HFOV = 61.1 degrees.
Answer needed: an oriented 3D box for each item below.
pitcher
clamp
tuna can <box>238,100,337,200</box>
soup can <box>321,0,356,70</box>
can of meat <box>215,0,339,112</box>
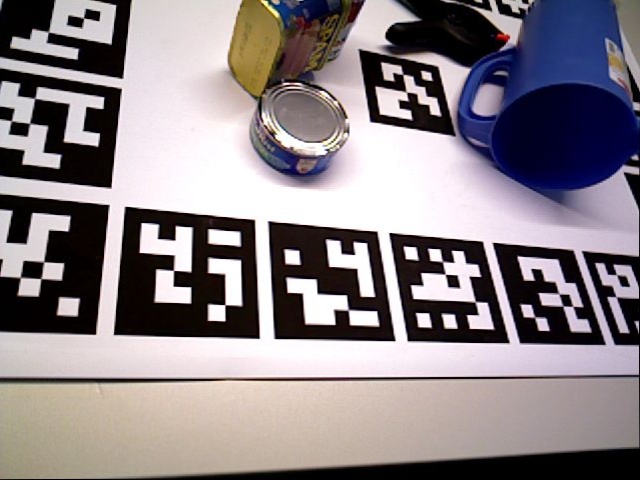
[{"bbox_3d":[0.257,-0.164,0.579,0.189,0.136,0.237,12,51,10],"label":"pitcher"},{"bbox_3d":[0.123,-0.245,0.642,0.163,0.037,0.120,9,58,-21],"label":"clamp"},{"bbox_3d":[-0.030,-0.080,0.488,0.085,0.034,0.085,8,64,-17],"label":"tuna can"},{"bbox_3d":[-0.004,-0.226,0.533,0.067,0.104,0.067,7,64,-15],"label":"soup can"},{"bbox_3d":[-0.041,-0.171,0.485,0.082,0.104,0.058,-34,80,-28],"label":"can of meat"}]
